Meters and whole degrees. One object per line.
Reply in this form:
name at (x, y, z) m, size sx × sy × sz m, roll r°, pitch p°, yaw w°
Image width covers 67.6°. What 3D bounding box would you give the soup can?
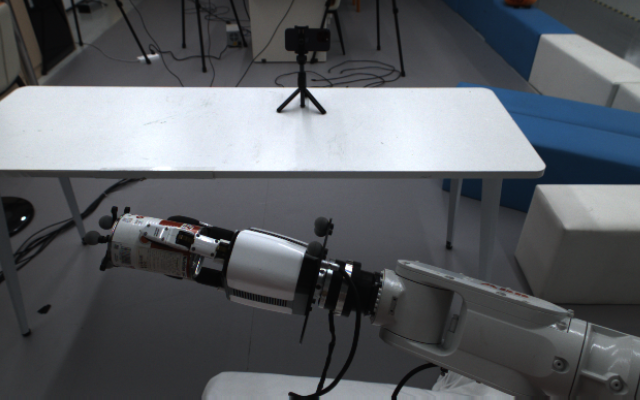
soup can at (-0.197, 0.059, 0.600) m, size 0.101 × 0.067 × 0.067 m, roll 10°, pitch 35°, yaw -1°
